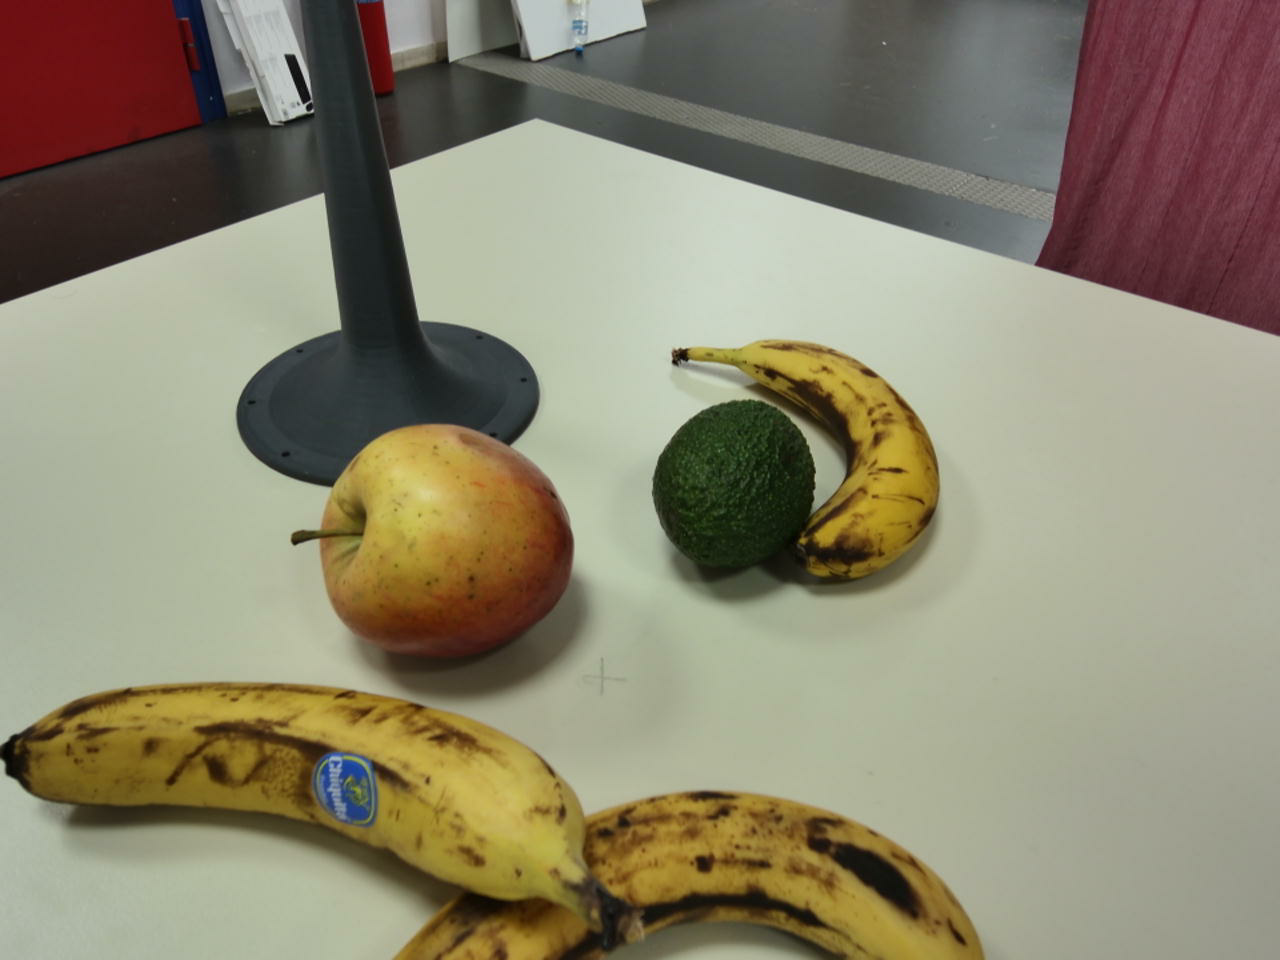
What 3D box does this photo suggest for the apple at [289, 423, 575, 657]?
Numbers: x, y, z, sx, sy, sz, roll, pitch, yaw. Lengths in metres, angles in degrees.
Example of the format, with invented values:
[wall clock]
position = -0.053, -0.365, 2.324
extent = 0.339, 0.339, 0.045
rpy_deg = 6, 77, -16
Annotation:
[apple]
position = -0.072, 0.022, 0.365
extent = 0.093, 0.084, 0.086
rpy_deg = 3, 35, 1
